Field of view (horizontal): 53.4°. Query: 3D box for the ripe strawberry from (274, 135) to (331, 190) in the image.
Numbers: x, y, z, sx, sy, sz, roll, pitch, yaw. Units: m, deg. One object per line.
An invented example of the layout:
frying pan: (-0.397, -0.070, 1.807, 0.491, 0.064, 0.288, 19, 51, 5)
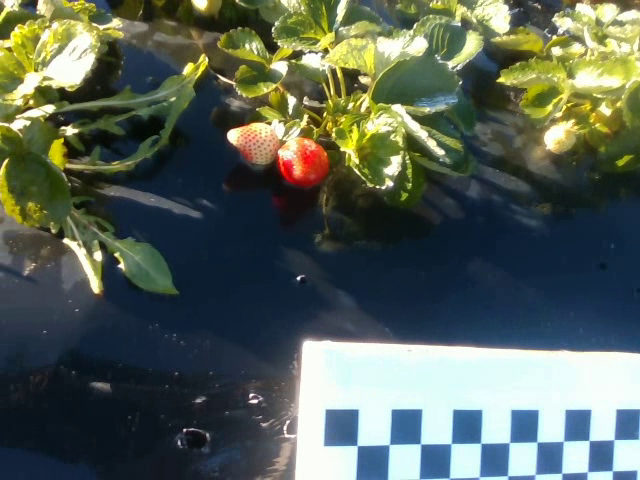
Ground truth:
ripe strawberry: (-0.011, -0.053, 0.428, 0.040, 0.038, 0.055, -13, 5, 9)
